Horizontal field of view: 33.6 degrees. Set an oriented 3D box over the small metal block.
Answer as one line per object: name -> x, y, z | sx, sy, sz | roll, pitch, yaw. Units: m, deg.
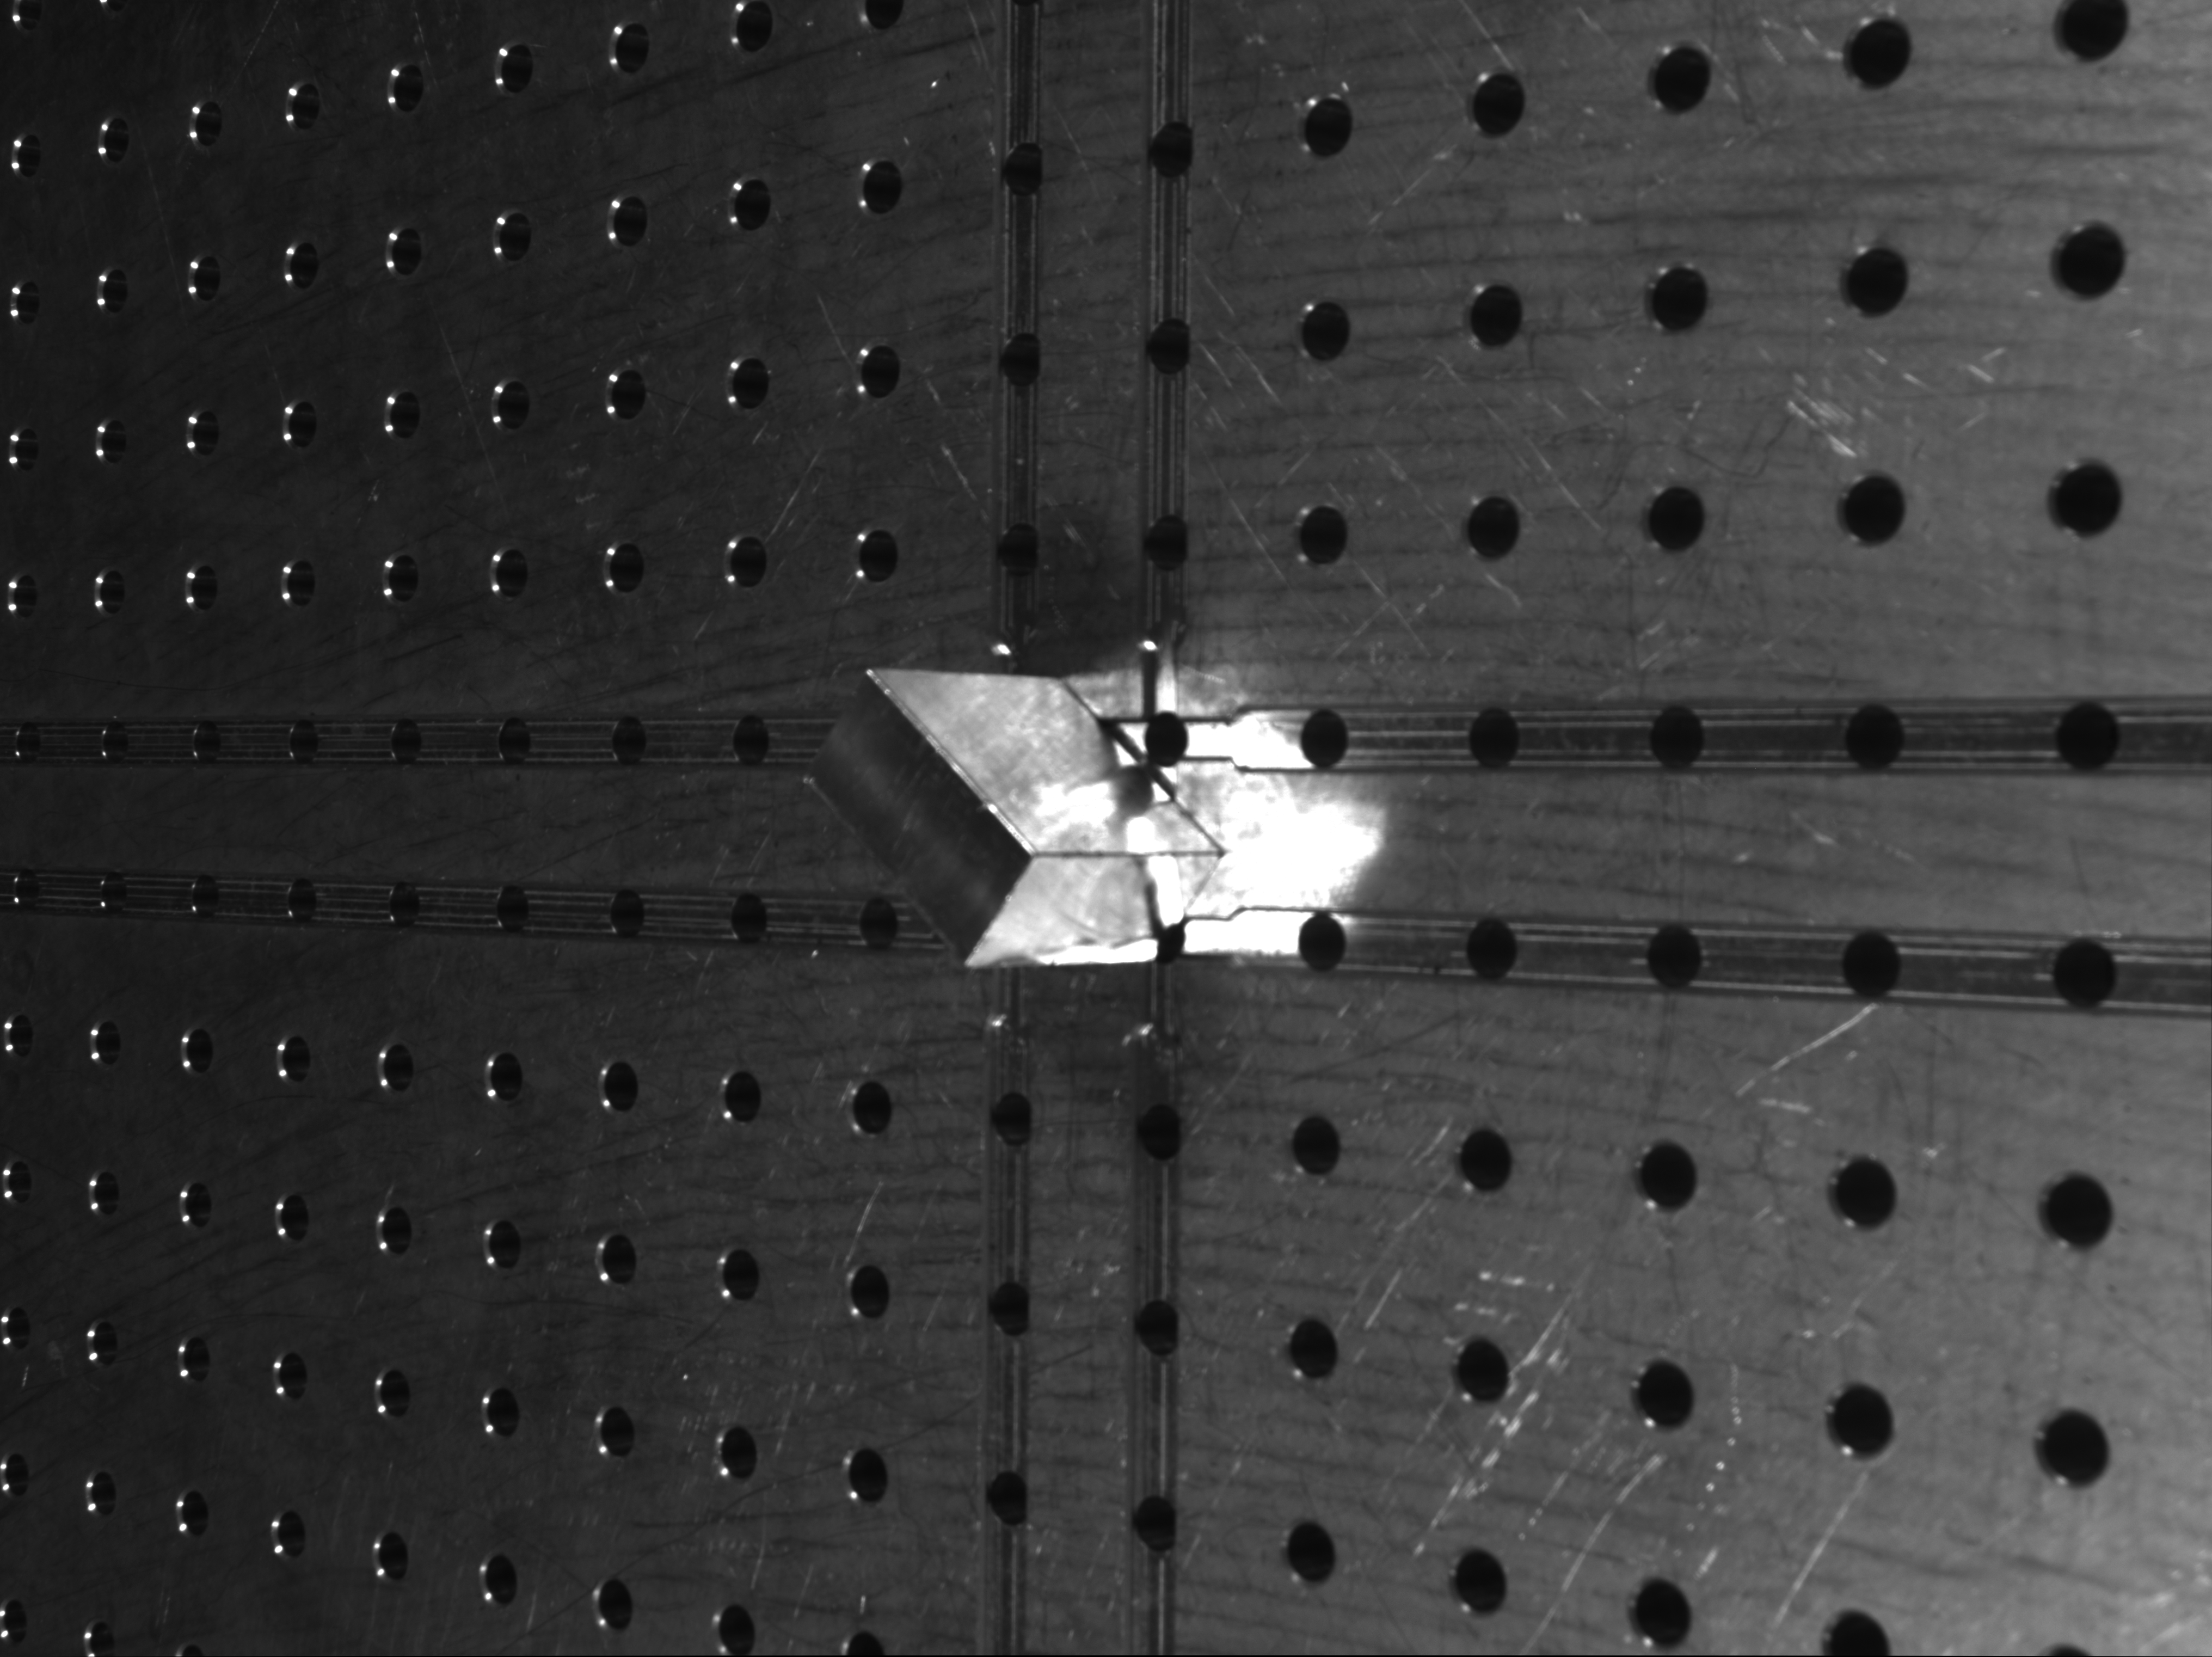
small metal block -> -0.020, -0.002, 0.640 | 0.050, 0.050, 0.025 | 47, 118, 29
